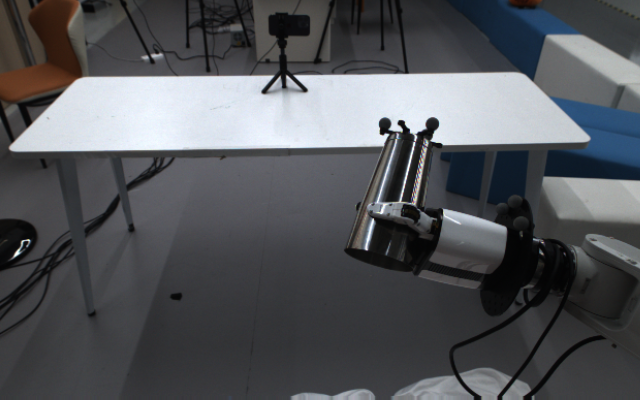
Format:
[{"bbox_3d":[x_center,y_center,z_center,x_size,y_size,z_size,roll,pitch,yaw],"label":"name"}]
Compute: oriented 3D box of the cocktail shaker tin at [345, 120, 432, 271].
[{"bbox_3d":[0.099,-0.001,0.643,0.093,0.093,0.170,13,73,15],"label":"cocktail shaker tin"}]
